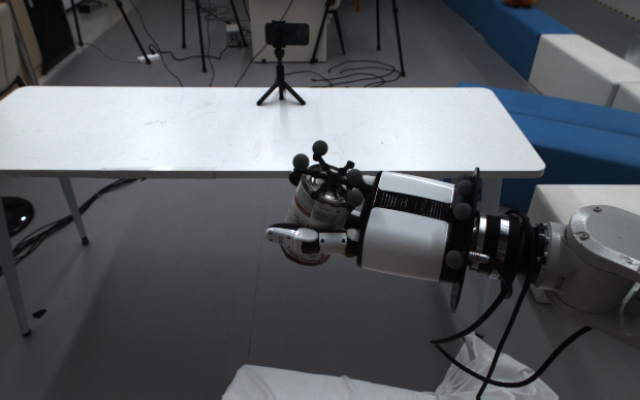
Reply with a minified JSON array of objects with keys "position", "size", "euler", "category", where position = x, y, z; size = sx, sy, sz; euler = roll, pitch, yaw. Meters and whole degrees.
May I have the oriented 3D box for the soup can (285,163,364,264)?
[{"position":[-0.001,0.018,0.555],"size":[0.067,0.101,0.067],"euler":[14,40,-12],"category":"soup can"}]
